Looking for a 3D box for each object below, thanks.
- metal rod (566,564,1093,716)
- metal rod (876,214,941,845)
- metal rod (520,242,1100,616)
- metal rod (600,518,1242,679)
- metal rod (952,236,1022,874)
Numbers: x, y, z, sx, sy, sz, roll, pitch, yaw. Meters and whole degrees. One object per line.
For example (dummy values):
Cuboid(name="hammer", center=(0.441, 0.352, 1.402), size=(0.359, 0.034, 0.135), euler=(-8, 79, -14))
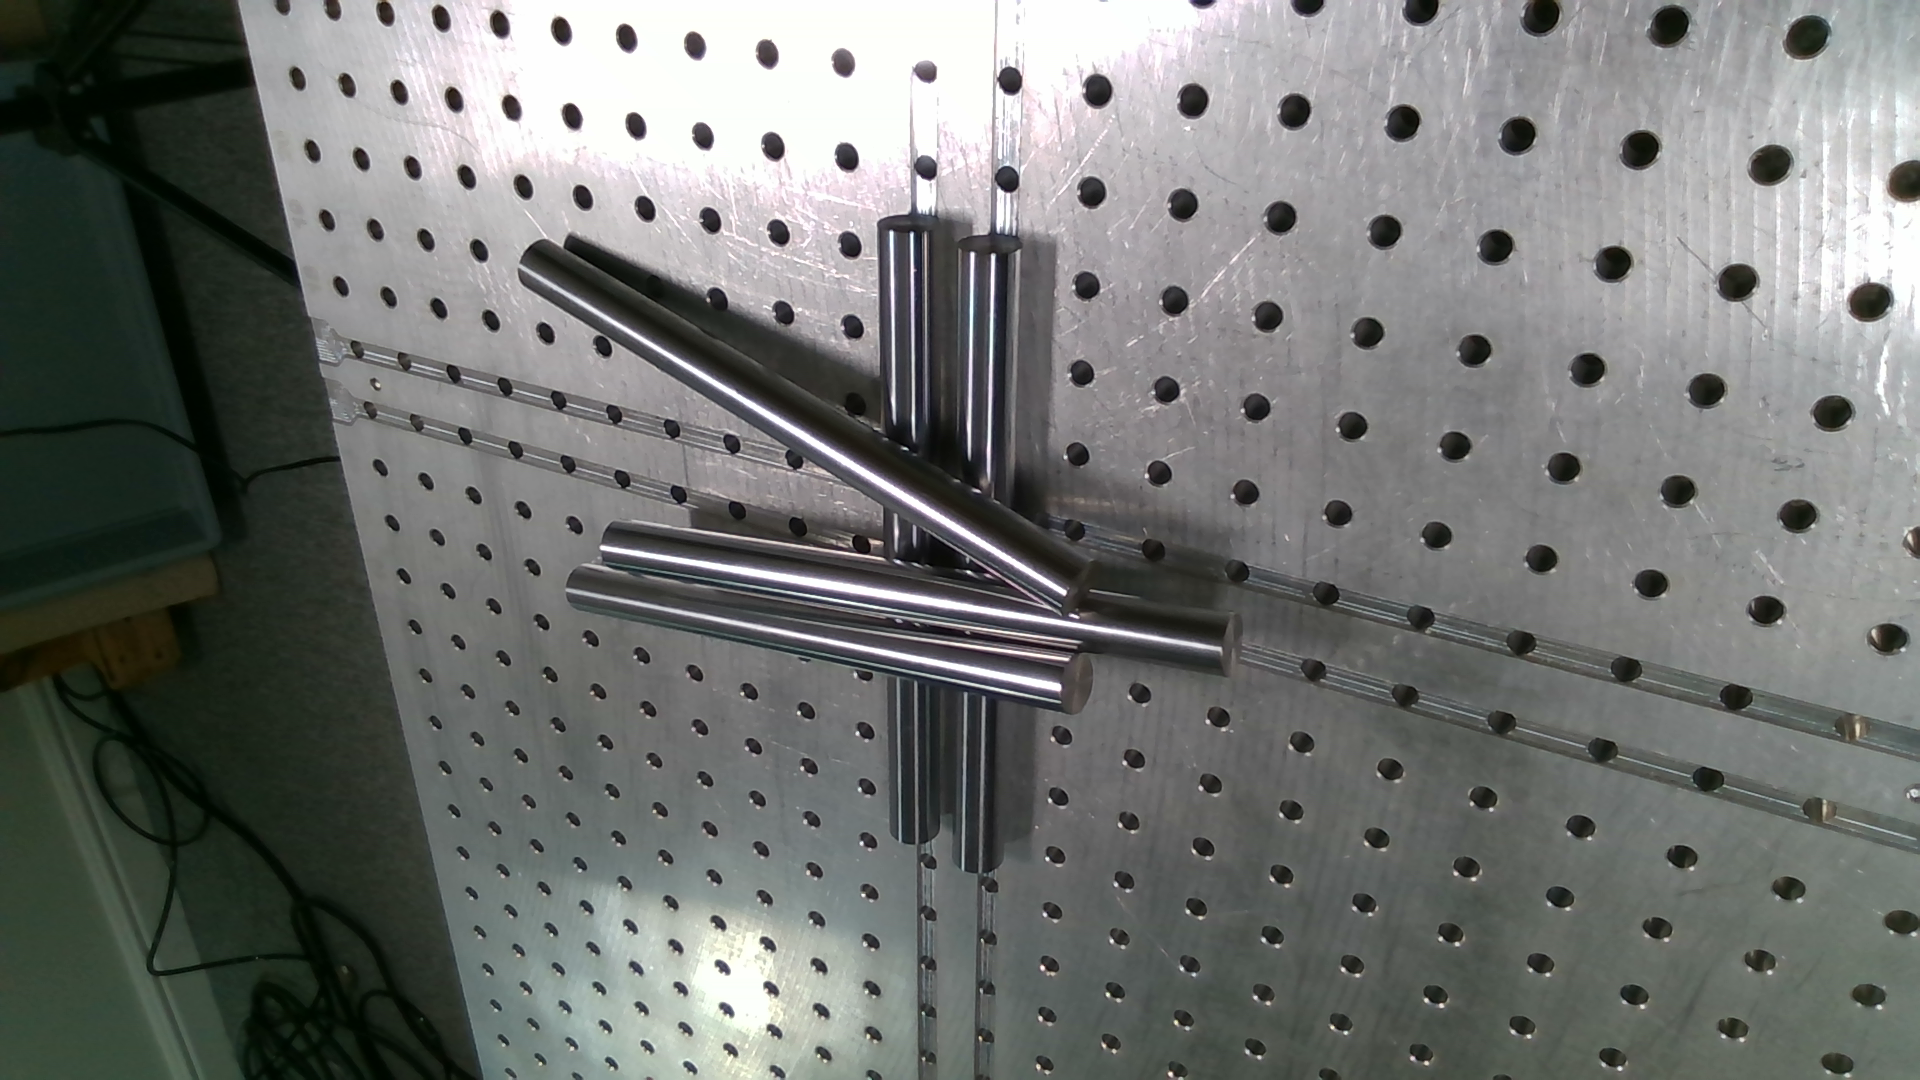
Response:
Cuboid(name="metal rod", center=(-0.074, 0.040, 0.626), size=(0.300, 0.025, 0.025), euler=(8, 119, 36))
Cuboid(name="metal rod", center=(-0.021, 0.010, 0.601), size=(0.025, 0.025, 0.301), euler=(15, 122, 24))
Cuboid(name="metal rod", center=(-0.073, -0.054, 0.575), size=(0.300, 0.025, 0.025), euler=(31, 128, 22))
Cuboid(name="metal rod", center=(-0.030, 0.020, 0.581), size=(0.300, 0.025, 0.025), euler=(8, 119, 28))
Cuboid(name="metal rod", center=(0.010, 0.020, 0.589), size=(0.025, 0.025, 0.301), euler=(15, 122, 24))
